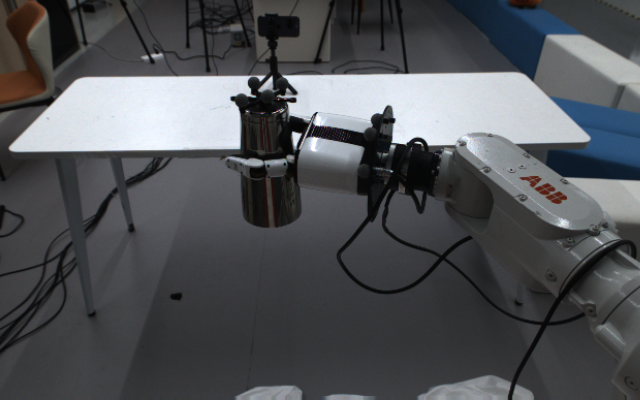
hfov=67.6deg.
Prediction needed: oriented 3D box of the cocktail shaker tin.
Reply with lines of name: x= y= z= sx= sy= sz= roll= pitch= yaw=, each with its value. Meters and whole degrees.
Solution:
cocktail shaker tin: x=-0.072 y=-0.057 z=0.696 sx=0.093 sy=0.170 sz=0.093 roll=-1 pitch=32 yaw=1
